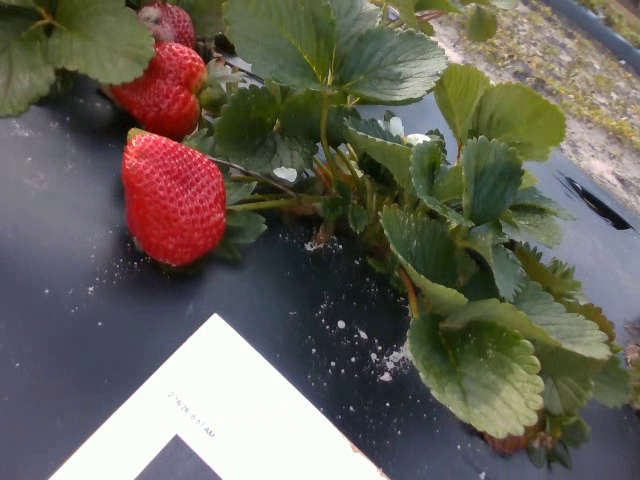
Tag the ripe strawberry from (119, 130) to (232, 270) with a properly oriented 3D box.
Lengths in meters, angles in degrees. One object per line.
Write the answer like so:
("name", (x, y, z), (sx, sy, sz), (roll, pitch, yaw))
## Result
("ripe strawberry", (-0.028, -0.009, 0.109), (0.022, 0.025, 0.030), (17, -16, 24))
